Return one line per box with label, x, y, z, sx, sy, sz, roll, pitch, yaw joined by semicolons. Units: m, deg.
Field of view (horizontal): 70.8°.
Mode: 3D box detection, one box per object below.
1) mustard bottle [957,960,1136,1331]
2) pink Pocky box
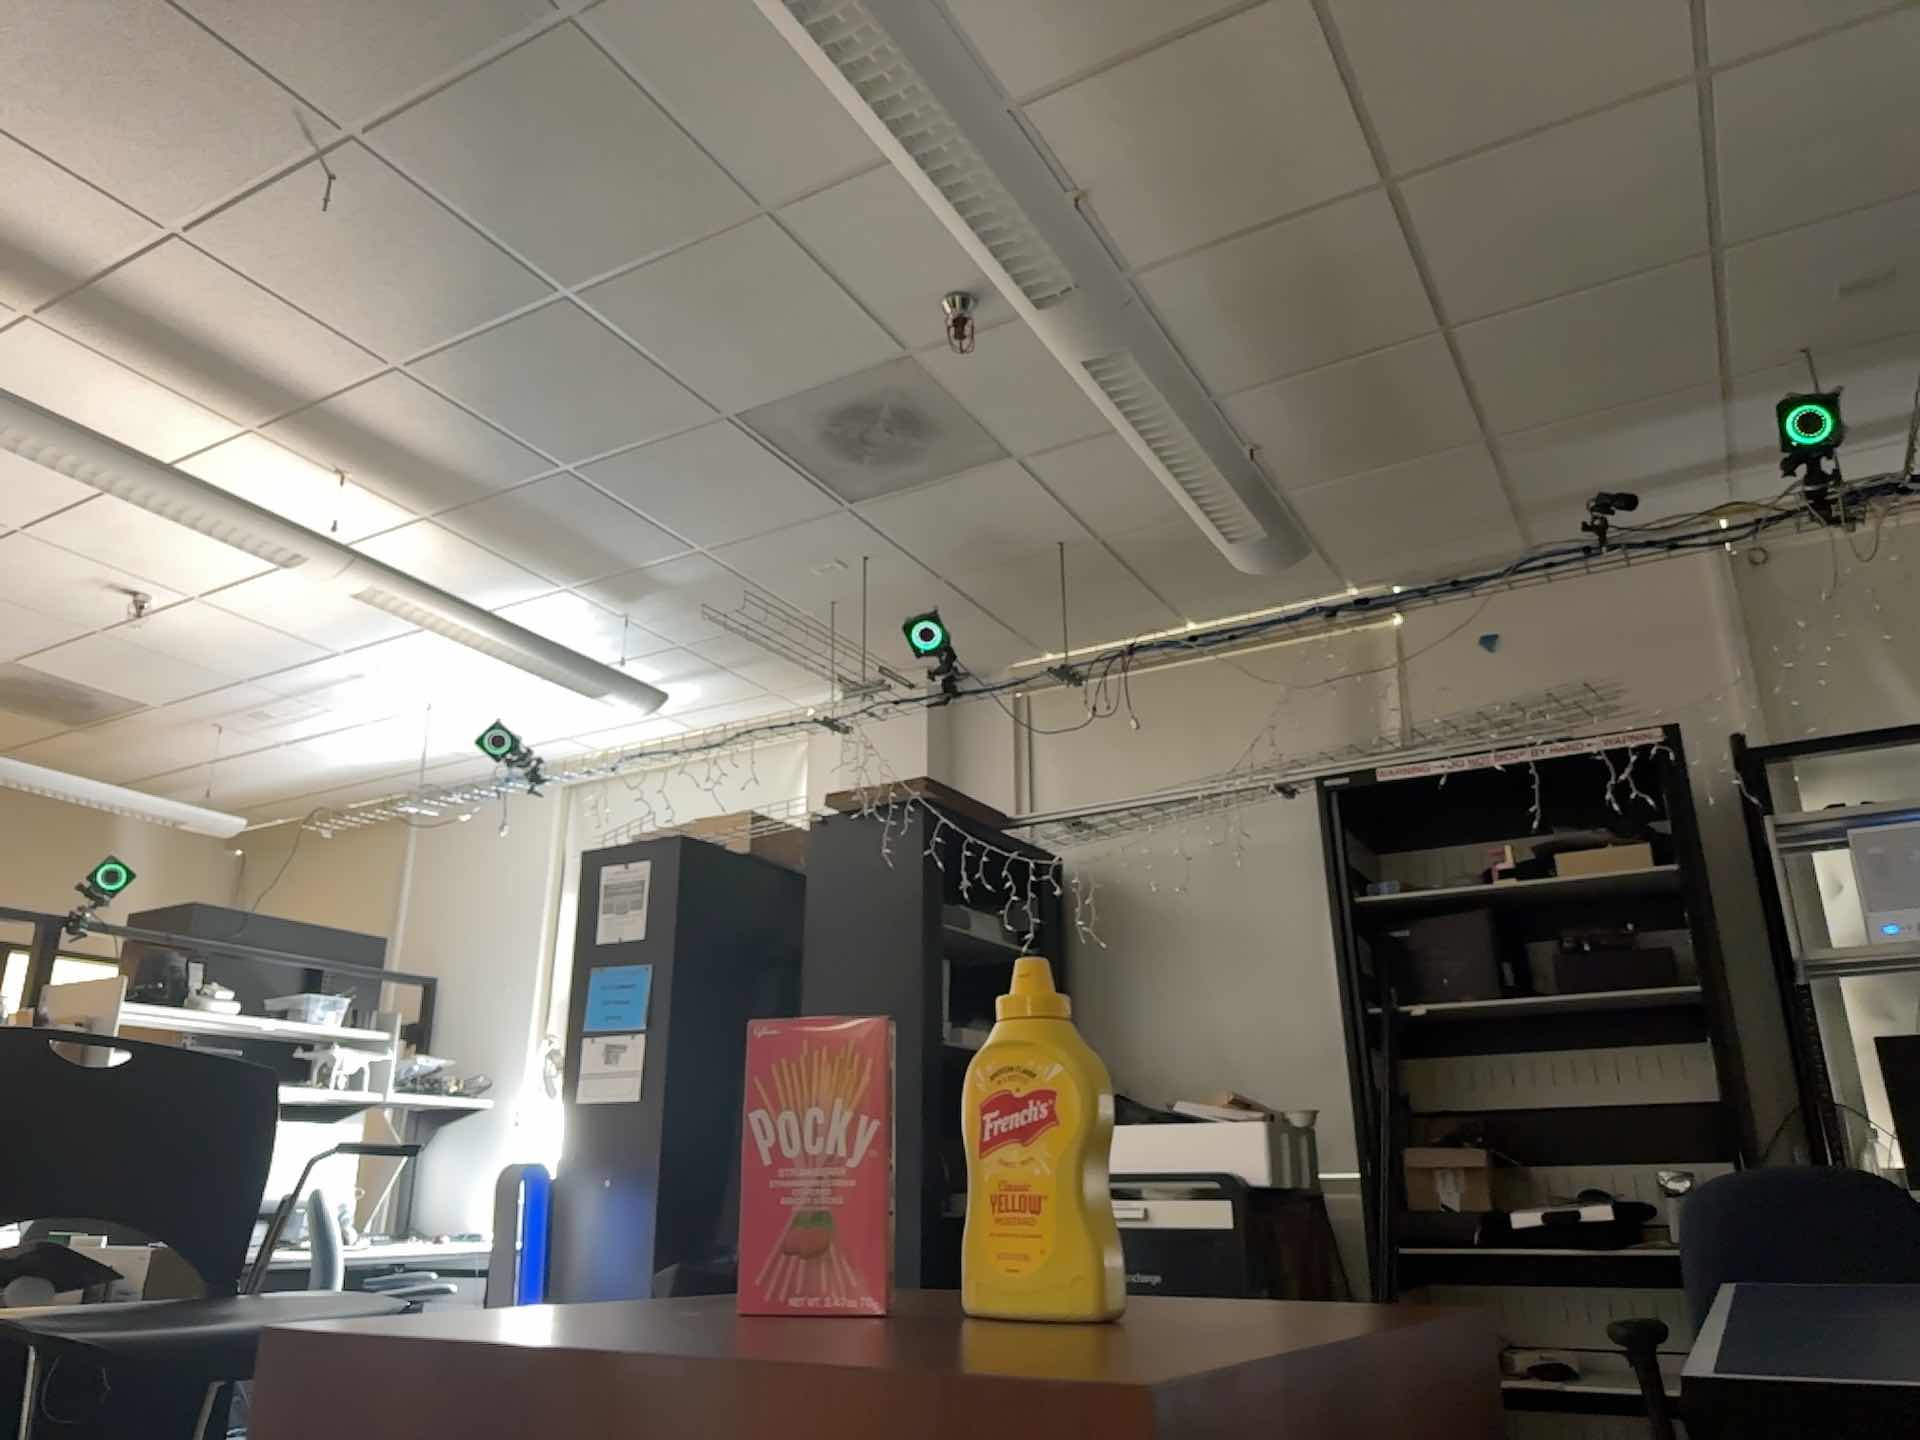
mustard bottle;0.041;0.219;0.713;0.092;0.184;0.054;-13;-19;34
pink Pocky box;-0.074;0.242;0.737;0.084;0.154;0.029;-4;-18;15
